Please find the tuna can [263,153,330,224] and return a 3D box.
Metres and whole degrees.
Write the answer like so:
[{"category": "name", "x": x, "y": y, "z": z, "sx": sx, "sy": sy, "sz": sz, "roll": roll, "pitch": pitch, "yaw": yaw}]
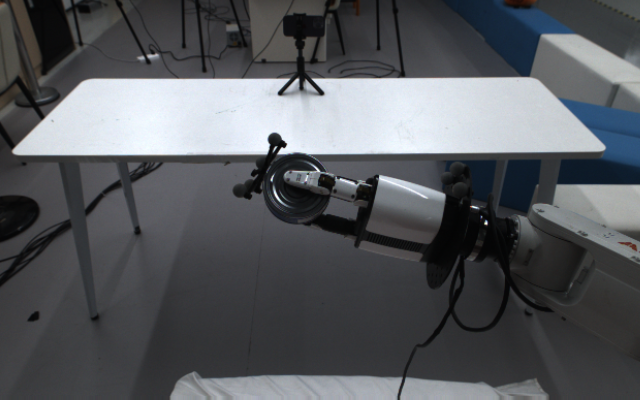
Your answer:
[{"category": "tuna can", "x": -0.025, "y": -0.011, "z": 0.600, "sx": 0.085, "sy": 0.034, "sz": 0.085, "roll": 1, "pitch": 76, "yaw": -5}]
